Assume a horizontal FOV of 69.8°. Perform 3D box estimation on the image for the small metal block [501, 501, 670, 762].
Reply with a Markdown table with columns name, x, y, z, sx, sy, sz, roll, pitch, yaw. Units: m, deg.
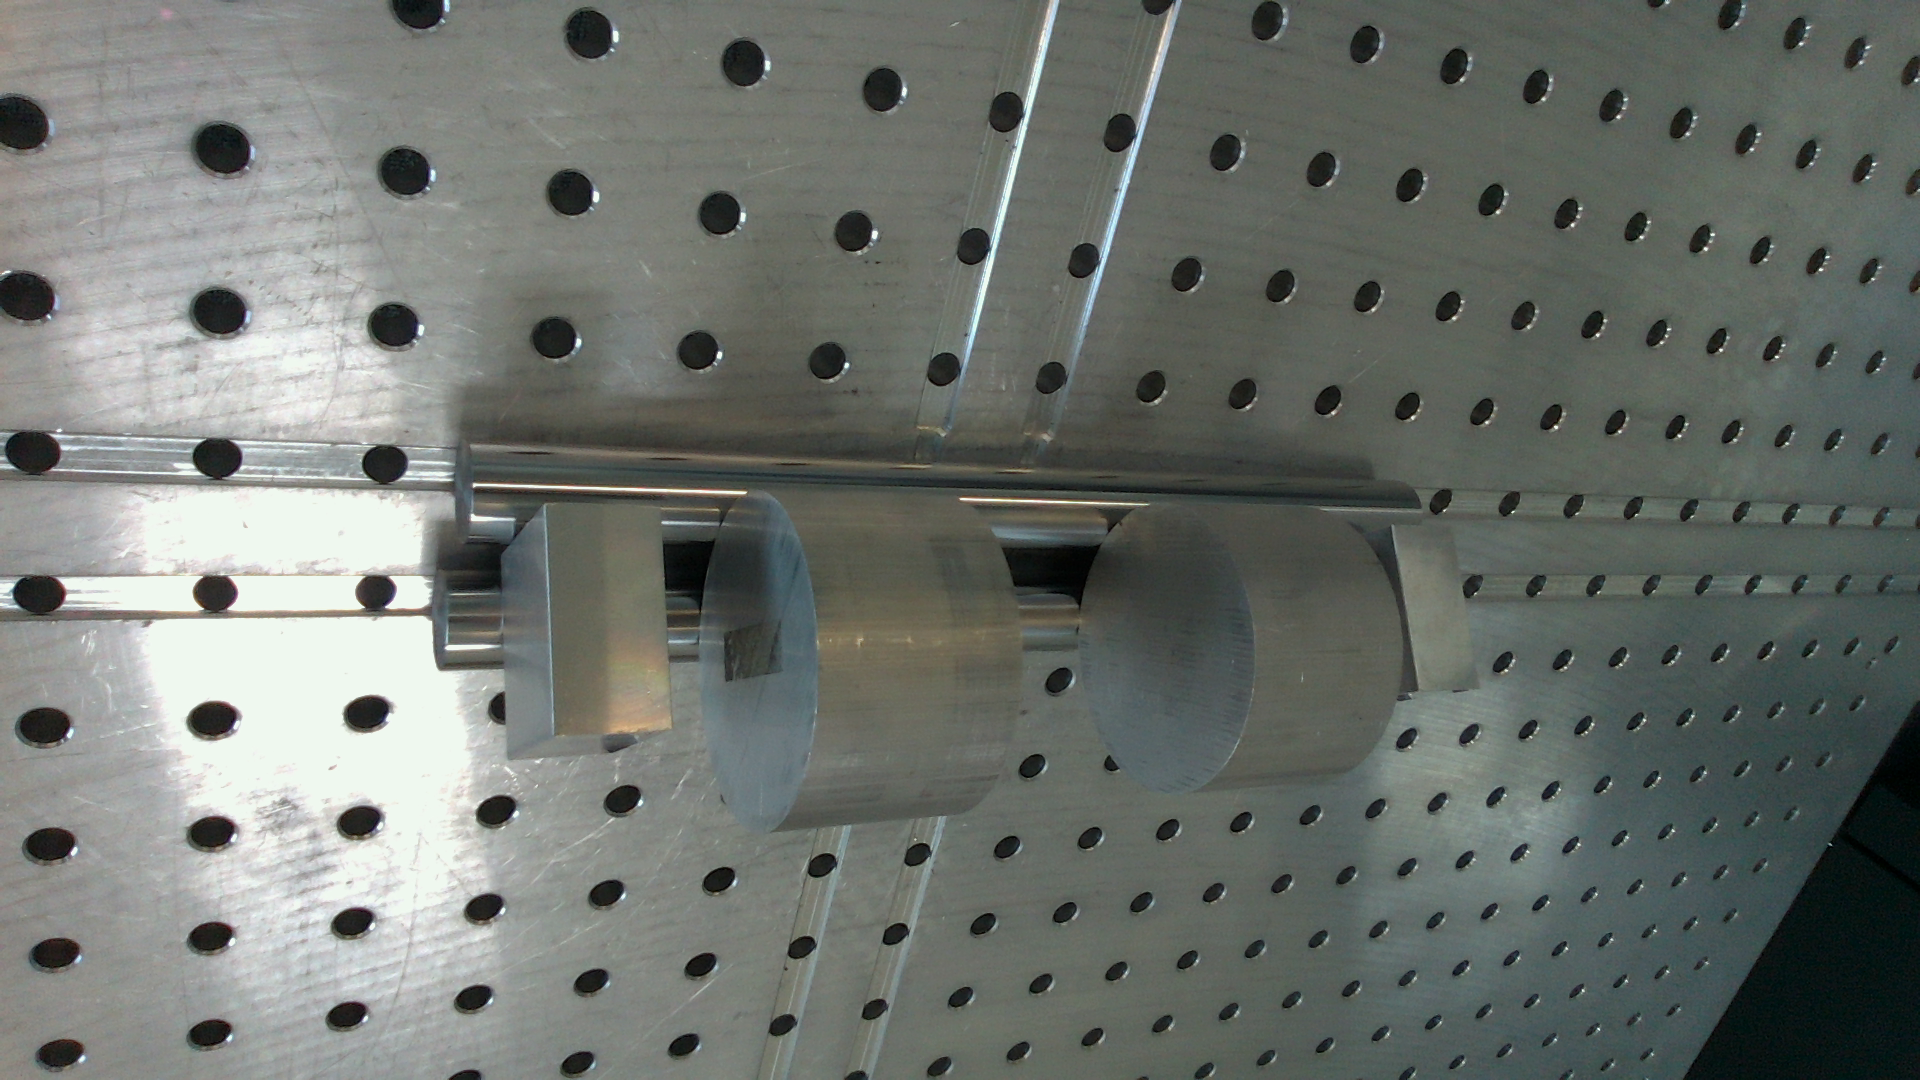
| name | x | y | z | sx | sy | sz | roll | pitch | yaw |
| --- | --- | --- | --- | --- | --- | --- | --- | --- | --- |
| small metal block | -0.087 | 0.022 | 0.314 | 0.025 | 0.050 | 0.050 | 1 | 76 | -28 |

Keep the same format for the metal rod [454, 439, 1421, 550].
| name | x | y | z | sx | sy | sz | roll | pitch | yaw |
| --- | --- | --- | --- | --- | --- | --- | --- | --- | --- |
| metal rod | 0.015 | -0.009 | 0.395 | 0.301 | 0.025 | 0.025 | 1 | 118 | -29 |

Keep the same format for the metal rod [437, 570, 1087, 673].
| name | x | y | z | sx | sy | sz | roll | pitch | yaw |
| --- | --- | --- | --- | --- | --- | --- | --- | --- | --- |
| metal rod | 0.005 | 0.021 | 0.408 | 0.301 | 0.025 | 0.025 | 1 | 118 | -29 |

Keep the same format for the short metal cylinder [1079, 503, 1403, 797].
| name | x | y | z | sx | sy | sz | roll | pitch | yaw |
| --- | --- | --- | --- | --- | --- | --- | --- | --- | --- |
| short metal cylinder | 0.077 | 0.030 | 0.388 | 0.050 | 0.080 | 0.080 | 1 | 118 | -29 |

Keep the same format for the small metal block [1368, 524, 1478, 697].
| name | x | y | z | sx | sy | sz | roll | pitch | yaw |
| --- | --- | --- | --- | --- | --- | --- | --- | --- | --- |
| small metal block | 0.130 | 0.025 | 0.433 | 0.025 | 0.050 | 0.050 | 1 | 77 | -28 |

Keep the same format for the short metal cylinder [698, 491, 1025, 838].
| name | x | y | z | sx | sy | sz | roll | pitch | yaw |
| --- | --- | --- | --- | --- | --- | --- | --- | --- | --- |
| short metal cylinder | -0.026 | 0.029 | 0.332 | 0.050 | 0.080 | 0.080 | 1 | 118 | -29 |
